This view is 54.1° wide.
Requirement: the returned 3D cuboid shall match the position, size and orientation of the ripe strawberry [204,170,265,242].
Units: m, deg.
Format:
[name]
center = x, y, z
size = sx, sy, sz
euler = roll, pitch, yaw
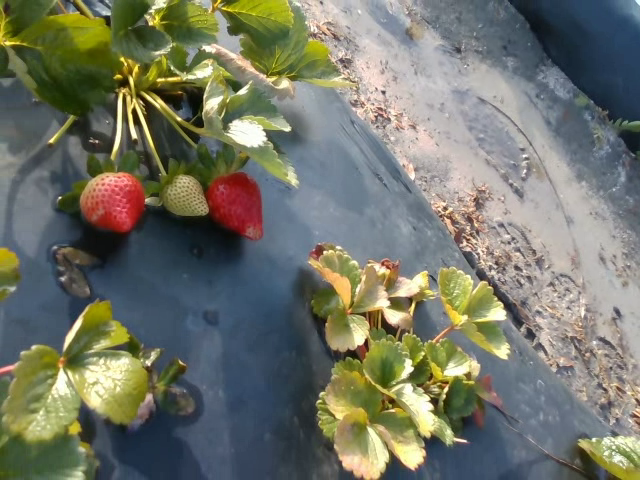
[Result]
[ripe strawberry]
center = -0.061, -0.024, 0.470
size = 0.048, 0.065, 0.050
euler = -24, -8, -2
